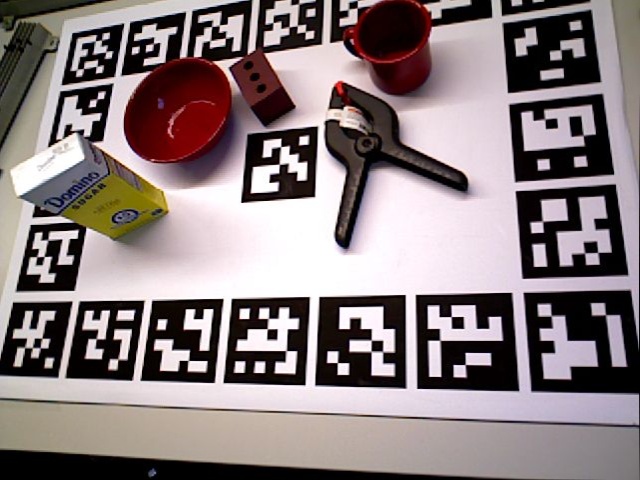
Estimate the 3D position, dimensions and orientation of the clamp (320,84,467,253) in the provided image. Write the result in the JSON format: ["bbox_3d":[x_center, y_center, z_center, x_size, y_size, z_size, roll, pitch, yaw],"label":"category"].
[{"bbox_3d":[0.058,-0.105,0.649,0.166,0.036,0.201,-26,69,10],"label":"clamp"}]

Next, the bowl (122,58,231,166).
[{"bbox_3d":[-0.186,-0.164,0.736,0.162,0.055,0.160,-5,73,14],"label":"bowl"}]

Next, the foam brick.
[{"bbox_3d":[-0.071,-0.194,0.719,0.053,0.051,0.077,-29,69,6],"label":"foam brick"}]

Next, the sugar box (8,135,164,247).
[{"bbox_3d":[-0.276,-0.052,0.664,0.093,0.177,0.045,-26,69,4],"label":"sugar box"}]

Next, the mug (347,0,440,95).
[{"bbox_3d":[0.088,-0.235,0.659,0.117,0.082,0.093,24,81,18],"label":"mug"}]
